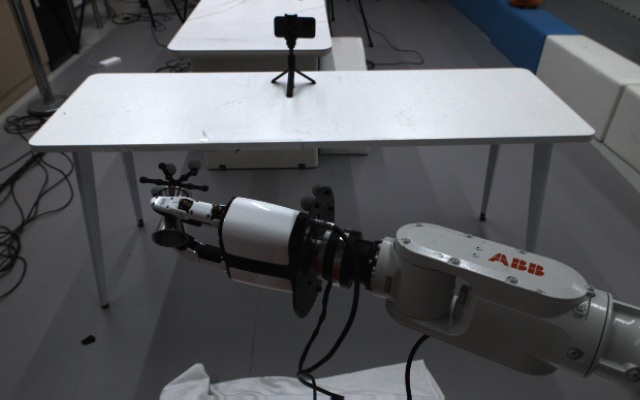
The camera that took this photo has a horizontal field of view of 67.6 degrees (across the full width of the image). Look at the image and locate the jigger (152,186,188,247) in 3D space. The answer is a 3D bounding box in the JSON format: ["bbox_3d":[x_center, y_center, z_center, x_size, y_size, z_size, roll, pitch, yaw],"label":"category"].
[{"bbox_3d":[-0.190,0.022,0.624,0.043,0.043,0.071,-3,57,-7],"label":"jigger"}]
